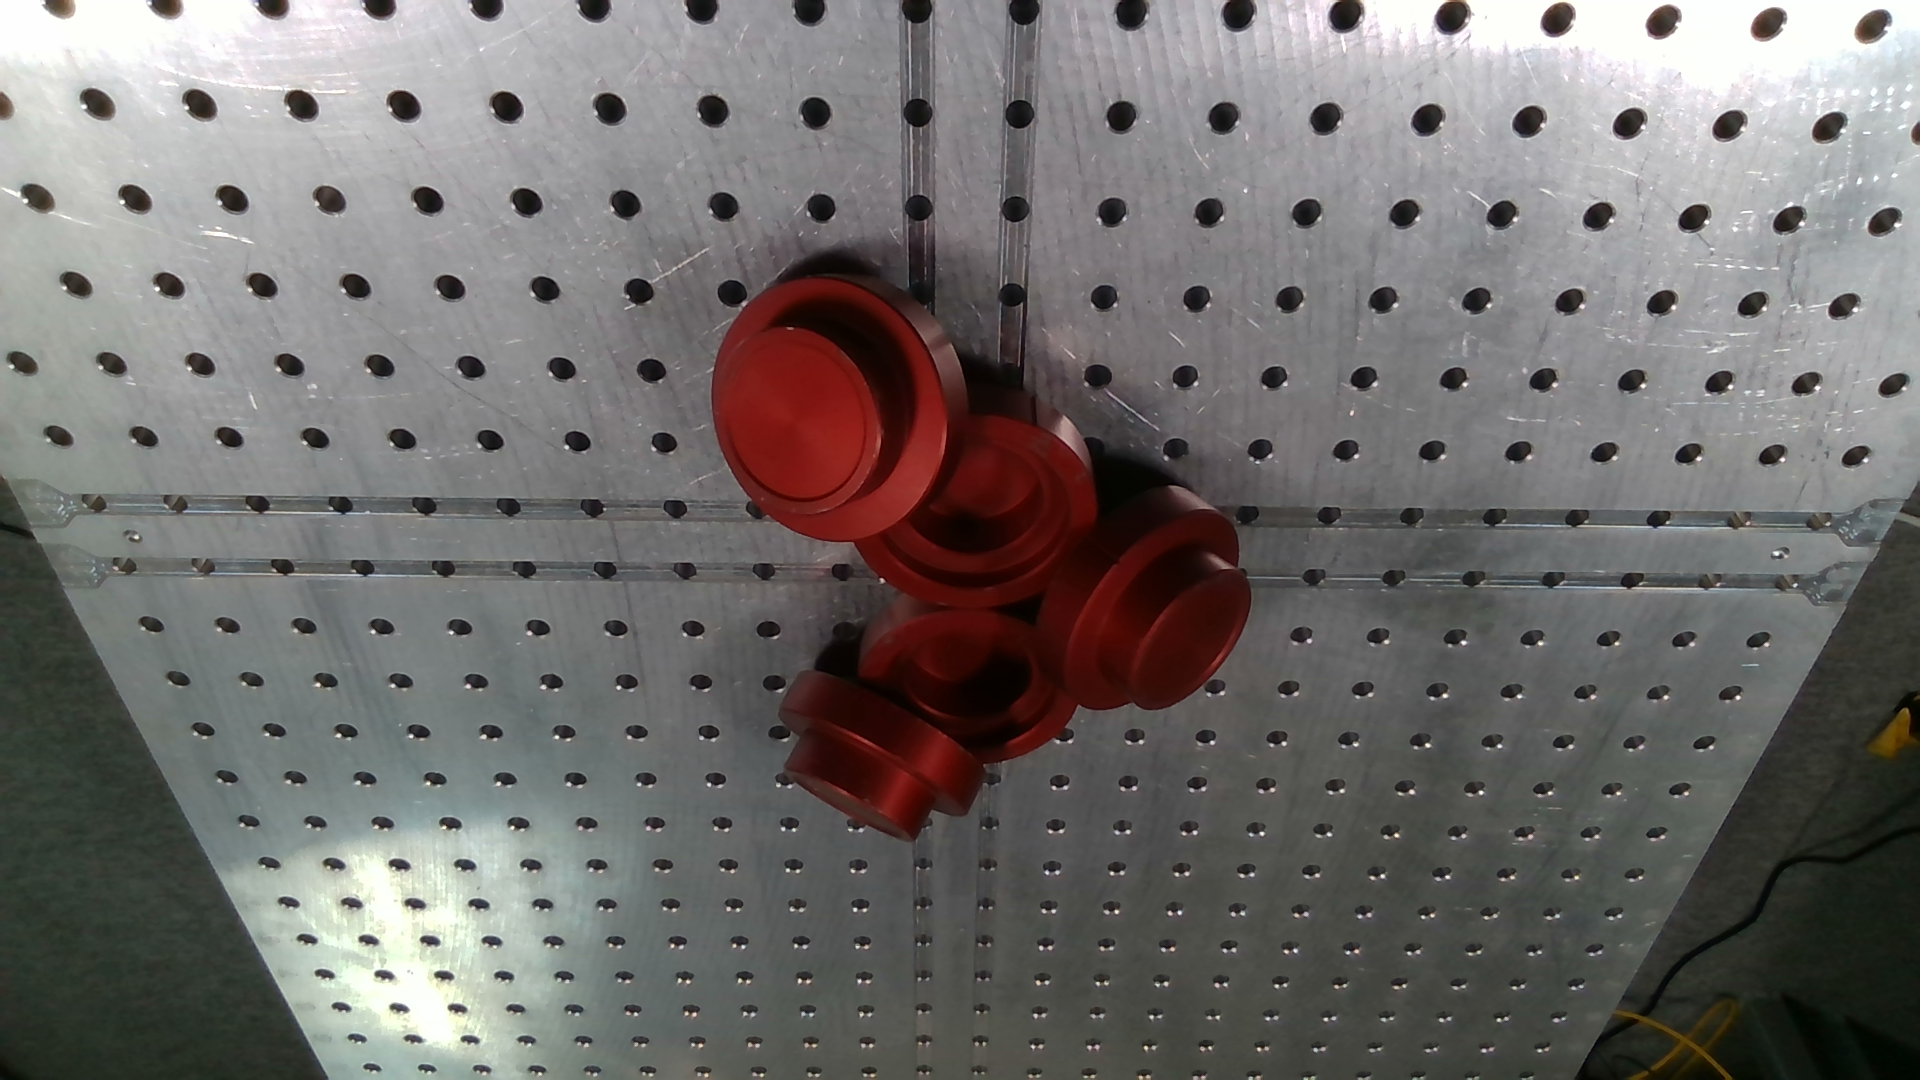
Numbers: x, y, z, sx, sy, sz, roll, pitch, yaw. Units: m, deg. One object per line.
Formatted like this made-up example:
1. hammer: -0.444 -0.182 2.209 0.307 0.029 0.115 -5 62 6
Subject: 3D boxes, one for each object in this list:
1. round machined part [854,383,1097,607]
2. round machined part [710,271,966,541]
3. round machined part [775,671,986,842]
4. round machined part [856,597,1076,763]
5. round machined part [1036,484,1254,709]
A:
1. round machined part: 0.004 -0.023 0.551 0.098 0.042 0.098 0 130 0
2. round machined part: -0.050 -0.047 0.502 0.098 0.042 0.098 7 107 24
3. round machined part: -0.041 0.102 0.622 0.098 0.042 0.098 25 160 10
4. round machined part: 0.003 0.053 0.615 0.098 0.042 0.098 0 130 0
5. round machined part: 0.081 0.030 0.563 0.098 0.042 0.098 -27 137 -28
